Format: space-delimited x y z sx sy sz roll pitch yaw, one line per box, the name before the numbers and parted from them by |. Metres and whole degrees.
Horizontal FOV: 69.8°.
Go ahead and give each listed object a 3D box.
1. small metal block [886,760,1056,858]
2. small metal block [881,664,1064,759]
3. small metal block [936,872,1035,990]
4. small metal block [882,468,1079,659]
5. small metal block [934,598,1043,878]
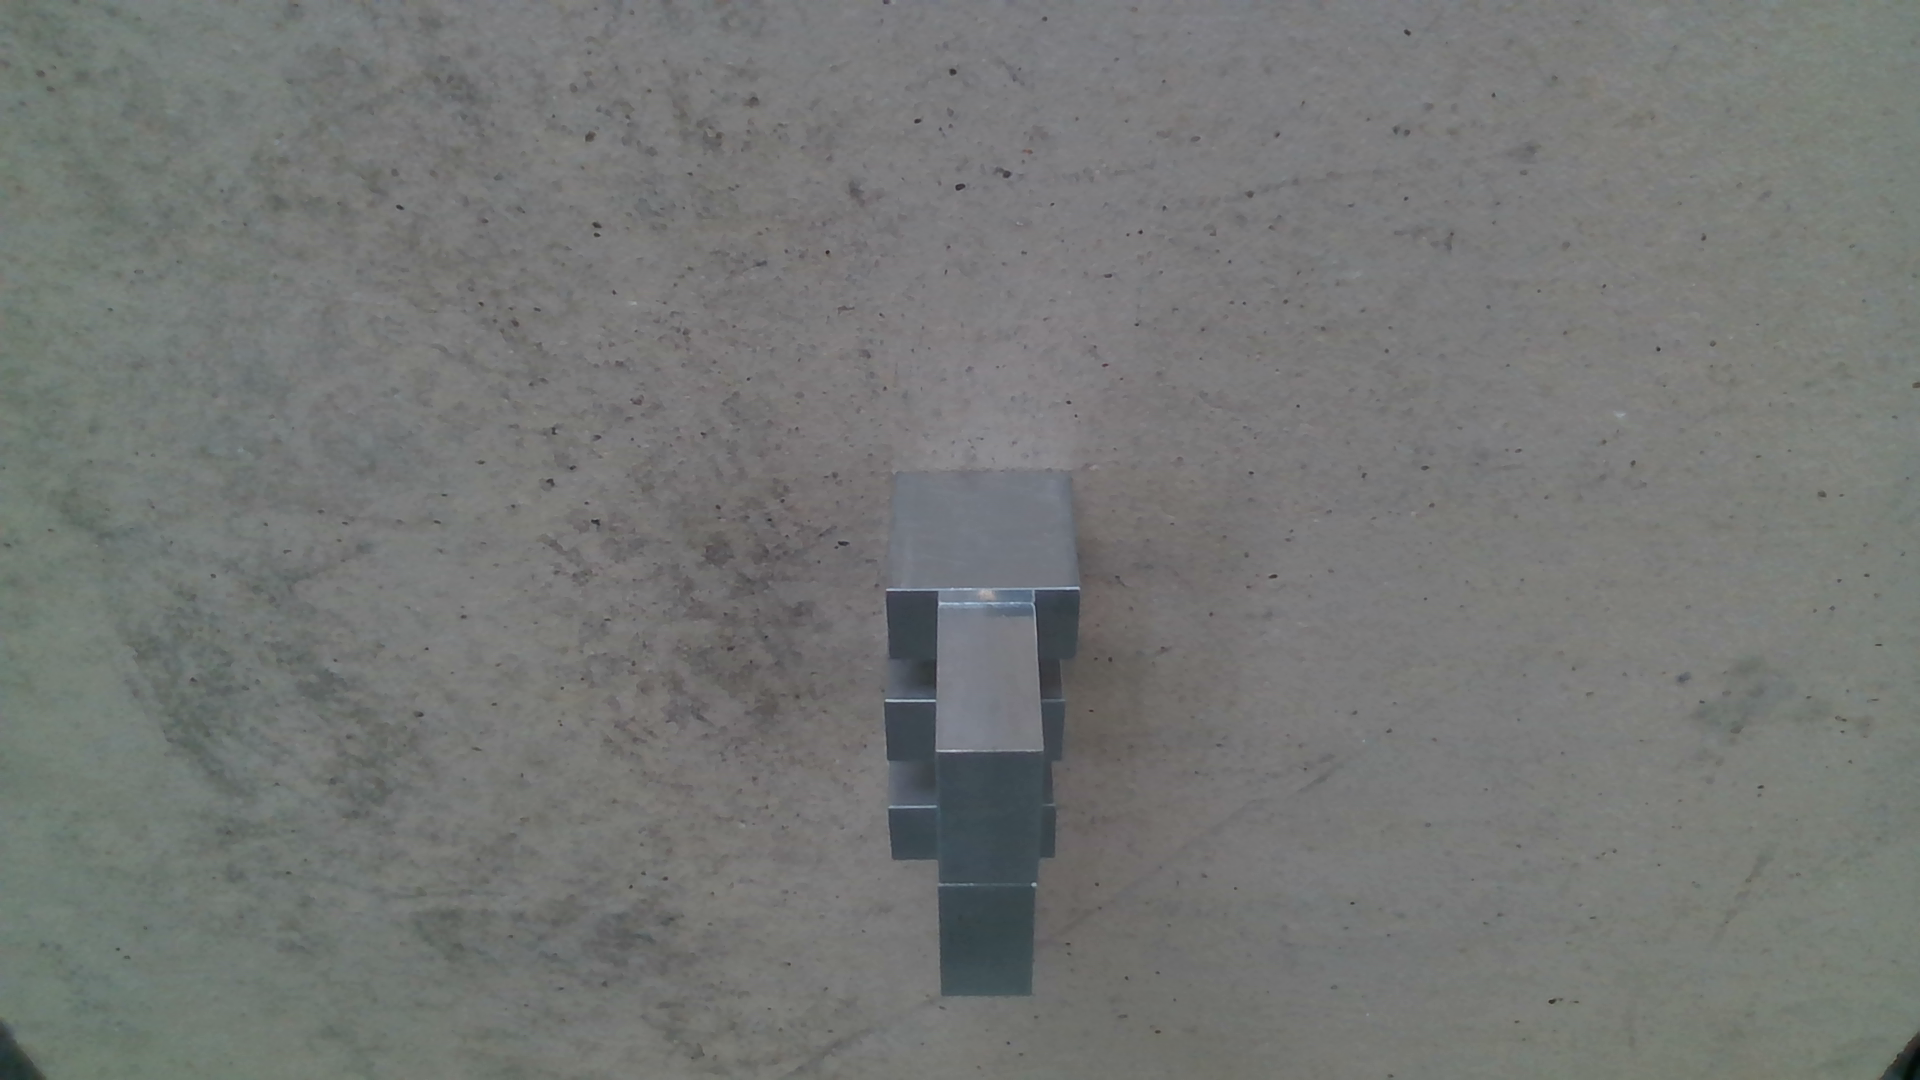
small metal block | 0.003 0.071 0.433 0.050 0.050 0.025 -1 130 1
small metal block | 0.004 0.036 0.404 0.050 0.050 0.025 -1 130 1
small metal block | 0.007 0.089 0.383 0.025 0.050 0.050 0 130 0
small metal block | 0.005 0.006 0.377 0.050 0.050 0.025 -1 130 0
small metal block | 0.007 0.050 0.351 0.025 0.050 0.050 0 130 0
